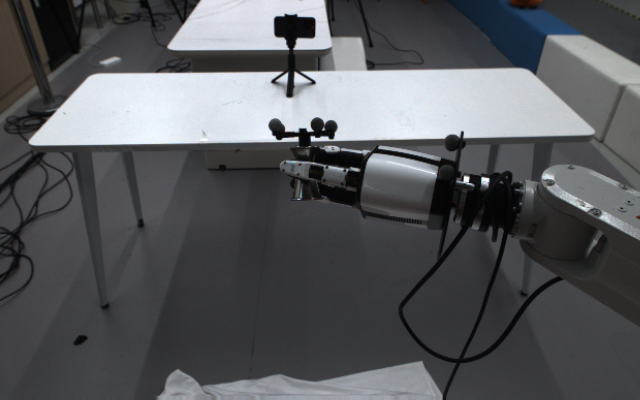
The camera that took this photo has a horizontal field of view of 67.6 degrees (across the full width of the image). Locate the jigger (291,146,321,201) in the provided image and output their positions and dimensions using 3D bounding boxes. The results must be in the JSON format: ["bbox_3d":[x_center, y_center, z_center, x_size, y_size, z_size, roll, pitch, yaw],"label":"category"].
[{"bbox_3d":[-0.019,-0.035,0.627,0.043,0.071,0.043,-2,3,0],"label":"jigger"}]
